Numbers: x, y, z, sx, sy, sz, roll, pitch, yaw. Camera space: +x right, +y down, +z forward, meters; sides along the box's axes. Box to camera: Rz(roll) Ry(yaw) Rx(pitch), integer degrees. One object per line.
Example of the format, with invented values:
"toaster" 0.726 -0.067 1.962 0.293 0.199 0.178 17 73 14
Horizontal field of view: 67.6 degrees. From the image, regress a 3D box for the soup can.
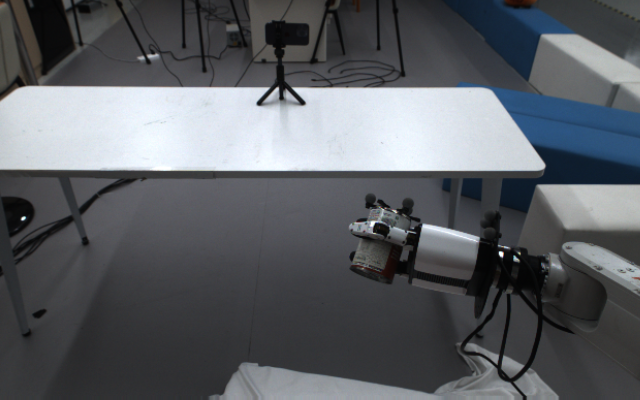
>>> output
"soup can" 0.094 0.068 0.737 0.067 0.067 0.101 15 74 18
